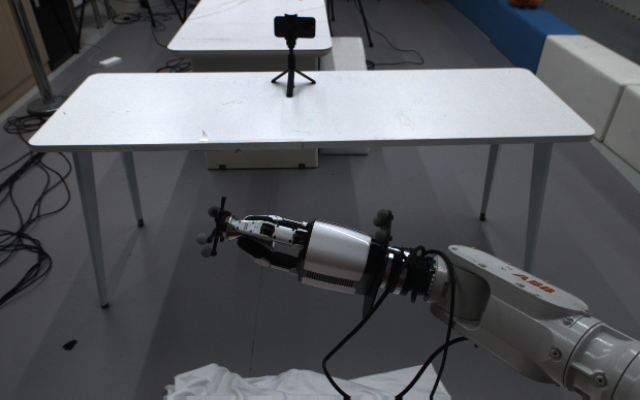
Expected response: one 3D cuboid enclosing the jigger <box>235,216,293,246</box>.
[{"bbox_3d":[-0.091,0.043,0.703,0.071,0.043,0.043,11,35,3],"label":"jigger"}]
